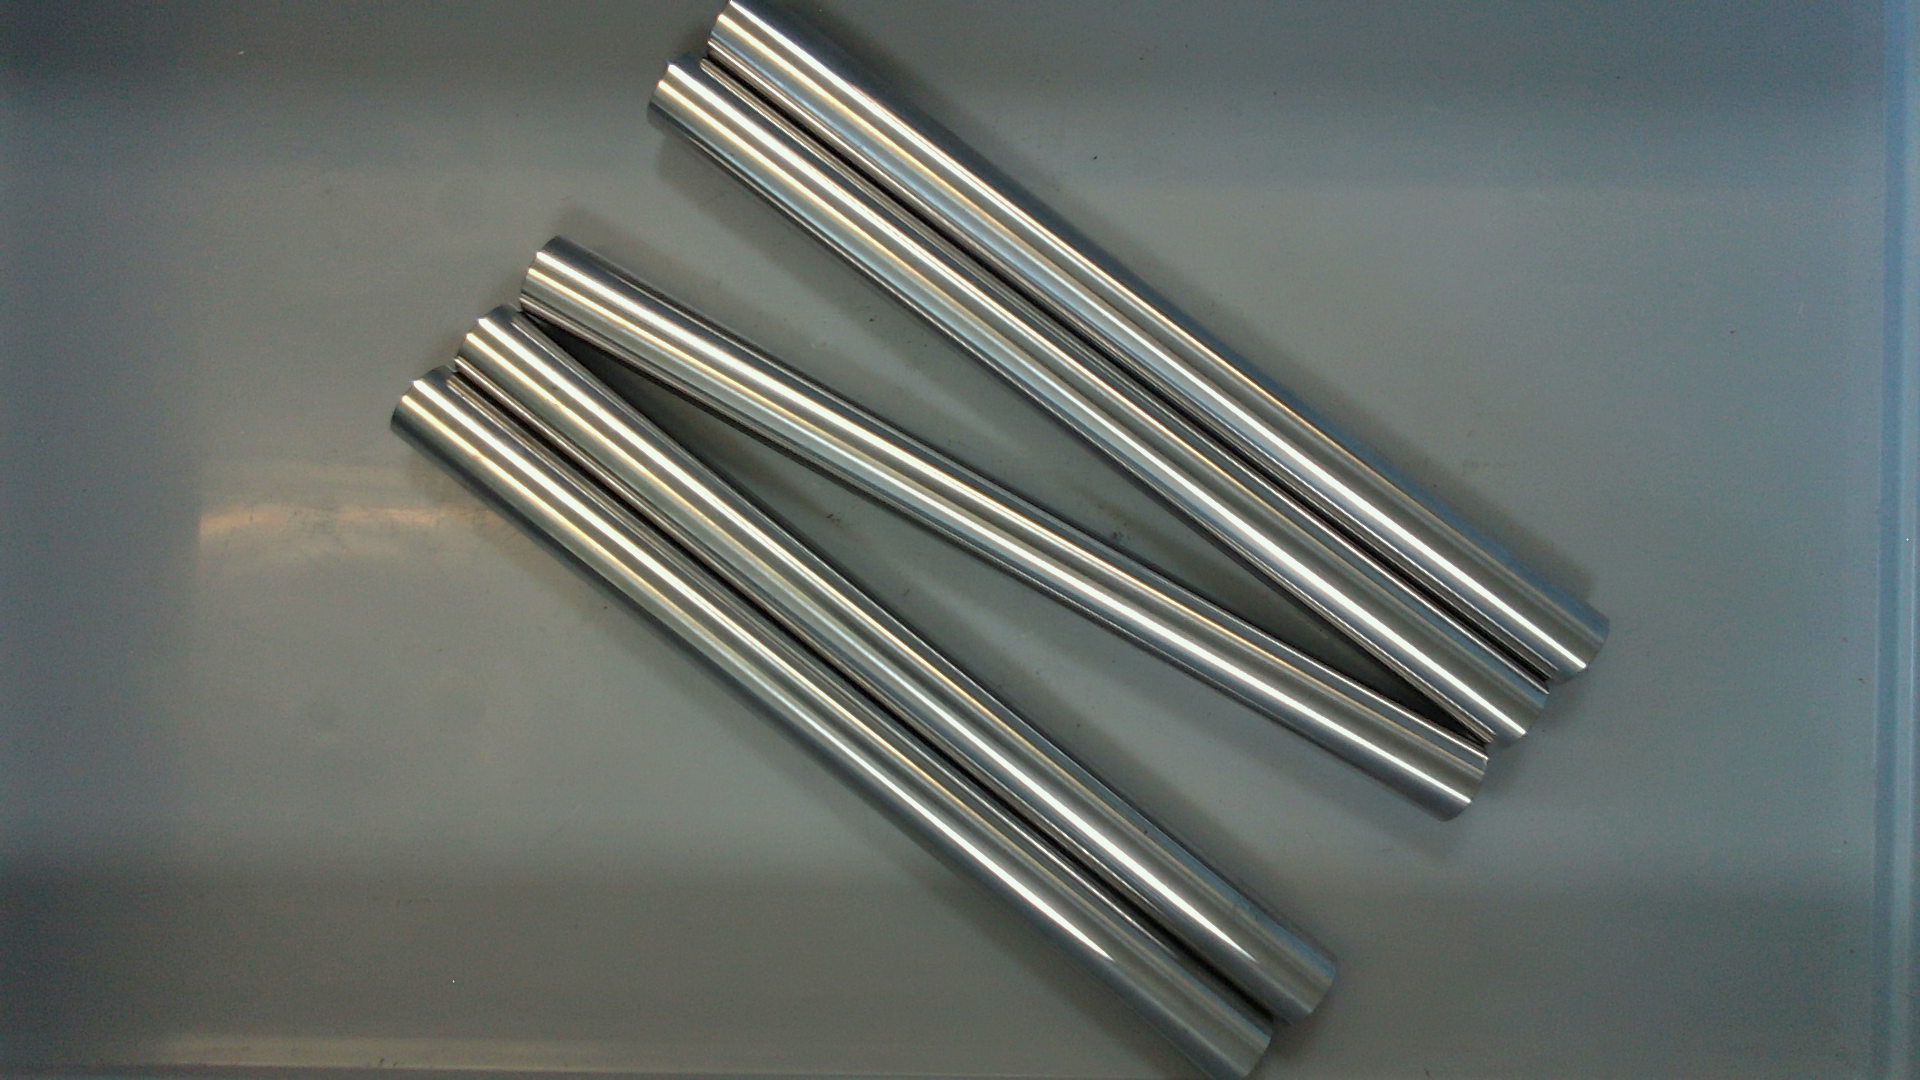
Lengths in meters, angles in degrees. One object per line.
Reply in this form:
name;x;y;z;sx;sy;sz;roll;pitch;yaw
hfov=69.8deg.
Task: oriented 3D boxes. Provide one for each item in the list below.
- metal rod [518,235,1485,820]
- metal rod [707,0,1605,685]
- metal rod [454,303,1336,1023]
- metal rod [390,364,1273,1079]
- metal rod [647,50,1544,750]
metal rod;0.012;-0.003;0.394;0.300;0.025;0.025;29;90;0
metal rod;0.056;-0.058;0.394;0.300;0.025;0.025;37;90;0
metal rod;-0.018;0.035;0.394;0.300;0.025;0.025;38;90;0
metal rod;-0.036;0.053;0.394;0.300;0.025;0.025;38;90;0
metal rod;0.039;-0.039;0.394;0.300;0.025;0.025;37;90;0
